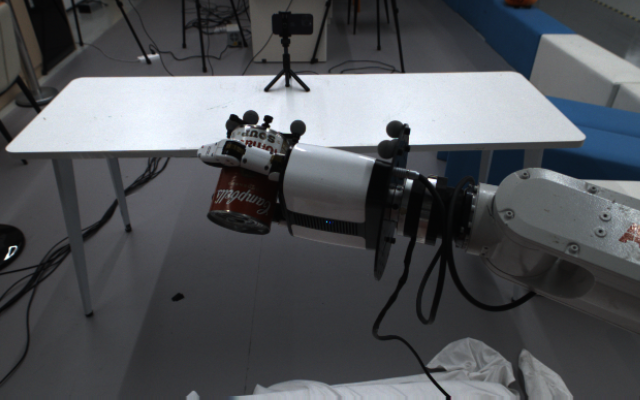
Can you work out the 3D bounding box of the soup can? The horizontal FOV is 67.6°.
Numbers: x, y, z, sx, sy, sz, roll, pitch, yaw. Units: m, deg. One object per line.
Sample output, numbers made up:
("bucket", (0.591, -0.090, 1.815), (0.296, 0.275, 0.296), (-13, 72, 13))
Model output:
("soup can", (-0.073, -0.020, 0.519), (0.067, 0.067, 0.101), (9, 71, 9))
